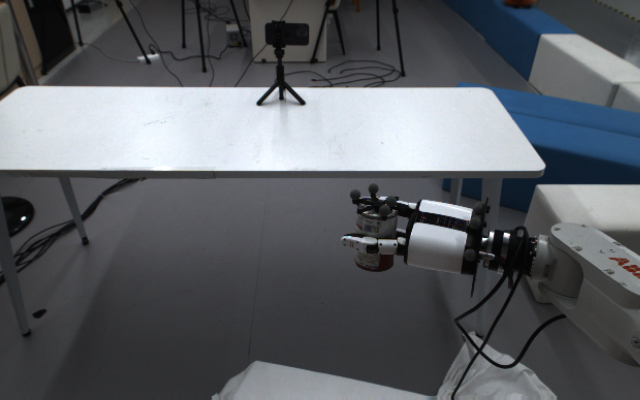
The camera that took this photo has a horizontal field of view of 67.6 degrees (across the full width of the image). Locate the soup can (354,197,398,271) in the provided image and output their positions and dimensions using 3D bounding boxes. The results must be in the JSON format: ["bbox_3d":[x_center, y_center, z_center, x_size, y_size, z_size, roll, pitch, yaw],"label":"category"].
[{"bbox_3d":[0.094,0.059,0.799,0.067,0.101,0.067,1,25,0],"label":"soup can"}]
